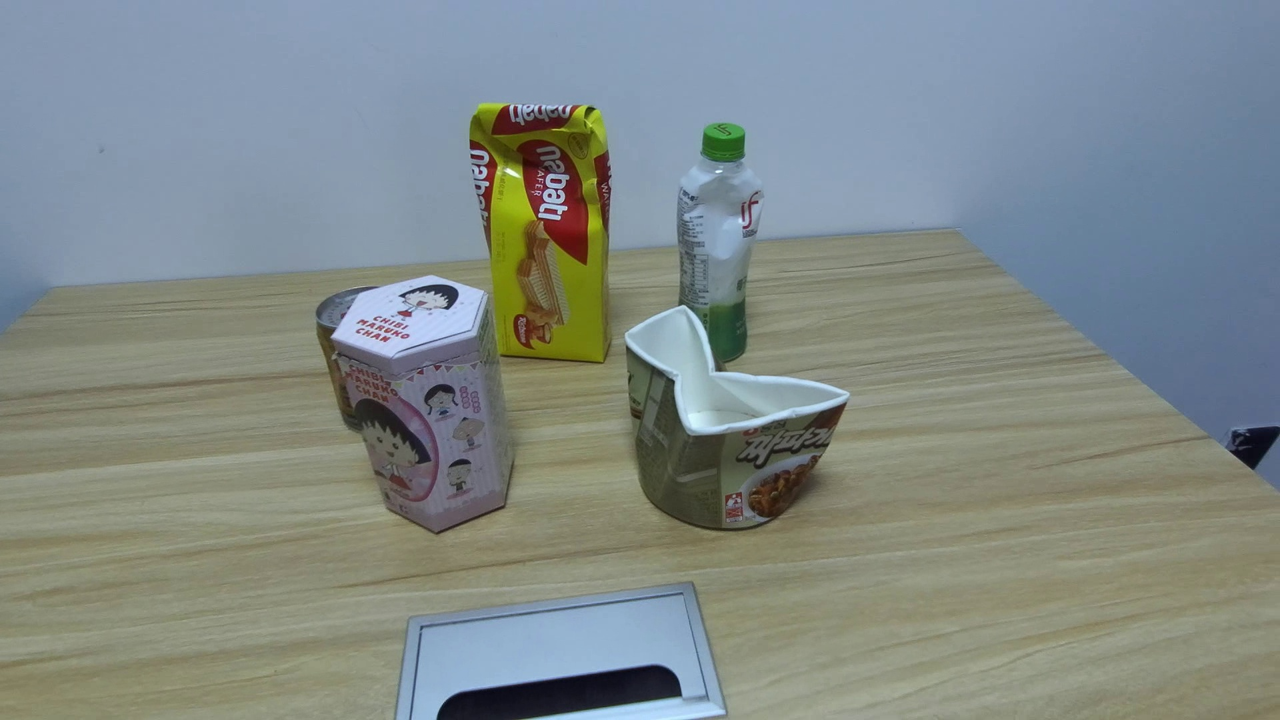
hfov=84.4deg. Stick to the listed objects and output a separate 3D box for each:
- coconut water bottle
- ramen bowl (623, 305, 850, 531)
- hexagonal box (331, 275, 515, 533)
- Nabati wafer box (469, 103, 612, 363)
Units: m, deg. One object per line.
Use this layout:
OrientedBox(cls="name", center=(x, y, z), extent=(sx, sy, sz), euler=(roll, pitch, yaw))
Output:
OrientedBox(cls="coconut water bottle", center=(0.060, -0.090, 0.558), extent=(0.069, 0.187, 0.069), euler=(1, 33, -1))
OrientedBox(cls="ramen bowl", center=(0.051, 0.035, 0.462), extent=(0.112, 0.093, 0.128), euler=(-14, 37, -18))
OrientedBox(cls="hexagonal box", center=(-0.129, 0.029, 0.439), extent=(0.091, 0.136, 0.084), euler=(16, 38, 23))
OrientedBox(cls="Nabati wafer box", center=(-0.073, -0.094, 0.556), extent=(0.113, 0.205, 0.042), euler=(3, 32, 8))
